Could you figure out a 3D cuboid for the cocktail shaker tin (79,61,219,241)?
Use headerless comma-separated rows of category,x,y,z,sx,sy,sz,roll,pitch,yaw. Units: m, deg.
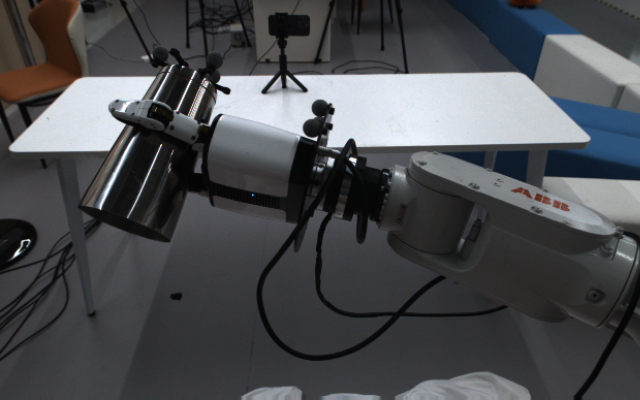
cocktail shaker tin,-0.168,-0.050,0.503,0.093,0.093,0.170,12,71,14
